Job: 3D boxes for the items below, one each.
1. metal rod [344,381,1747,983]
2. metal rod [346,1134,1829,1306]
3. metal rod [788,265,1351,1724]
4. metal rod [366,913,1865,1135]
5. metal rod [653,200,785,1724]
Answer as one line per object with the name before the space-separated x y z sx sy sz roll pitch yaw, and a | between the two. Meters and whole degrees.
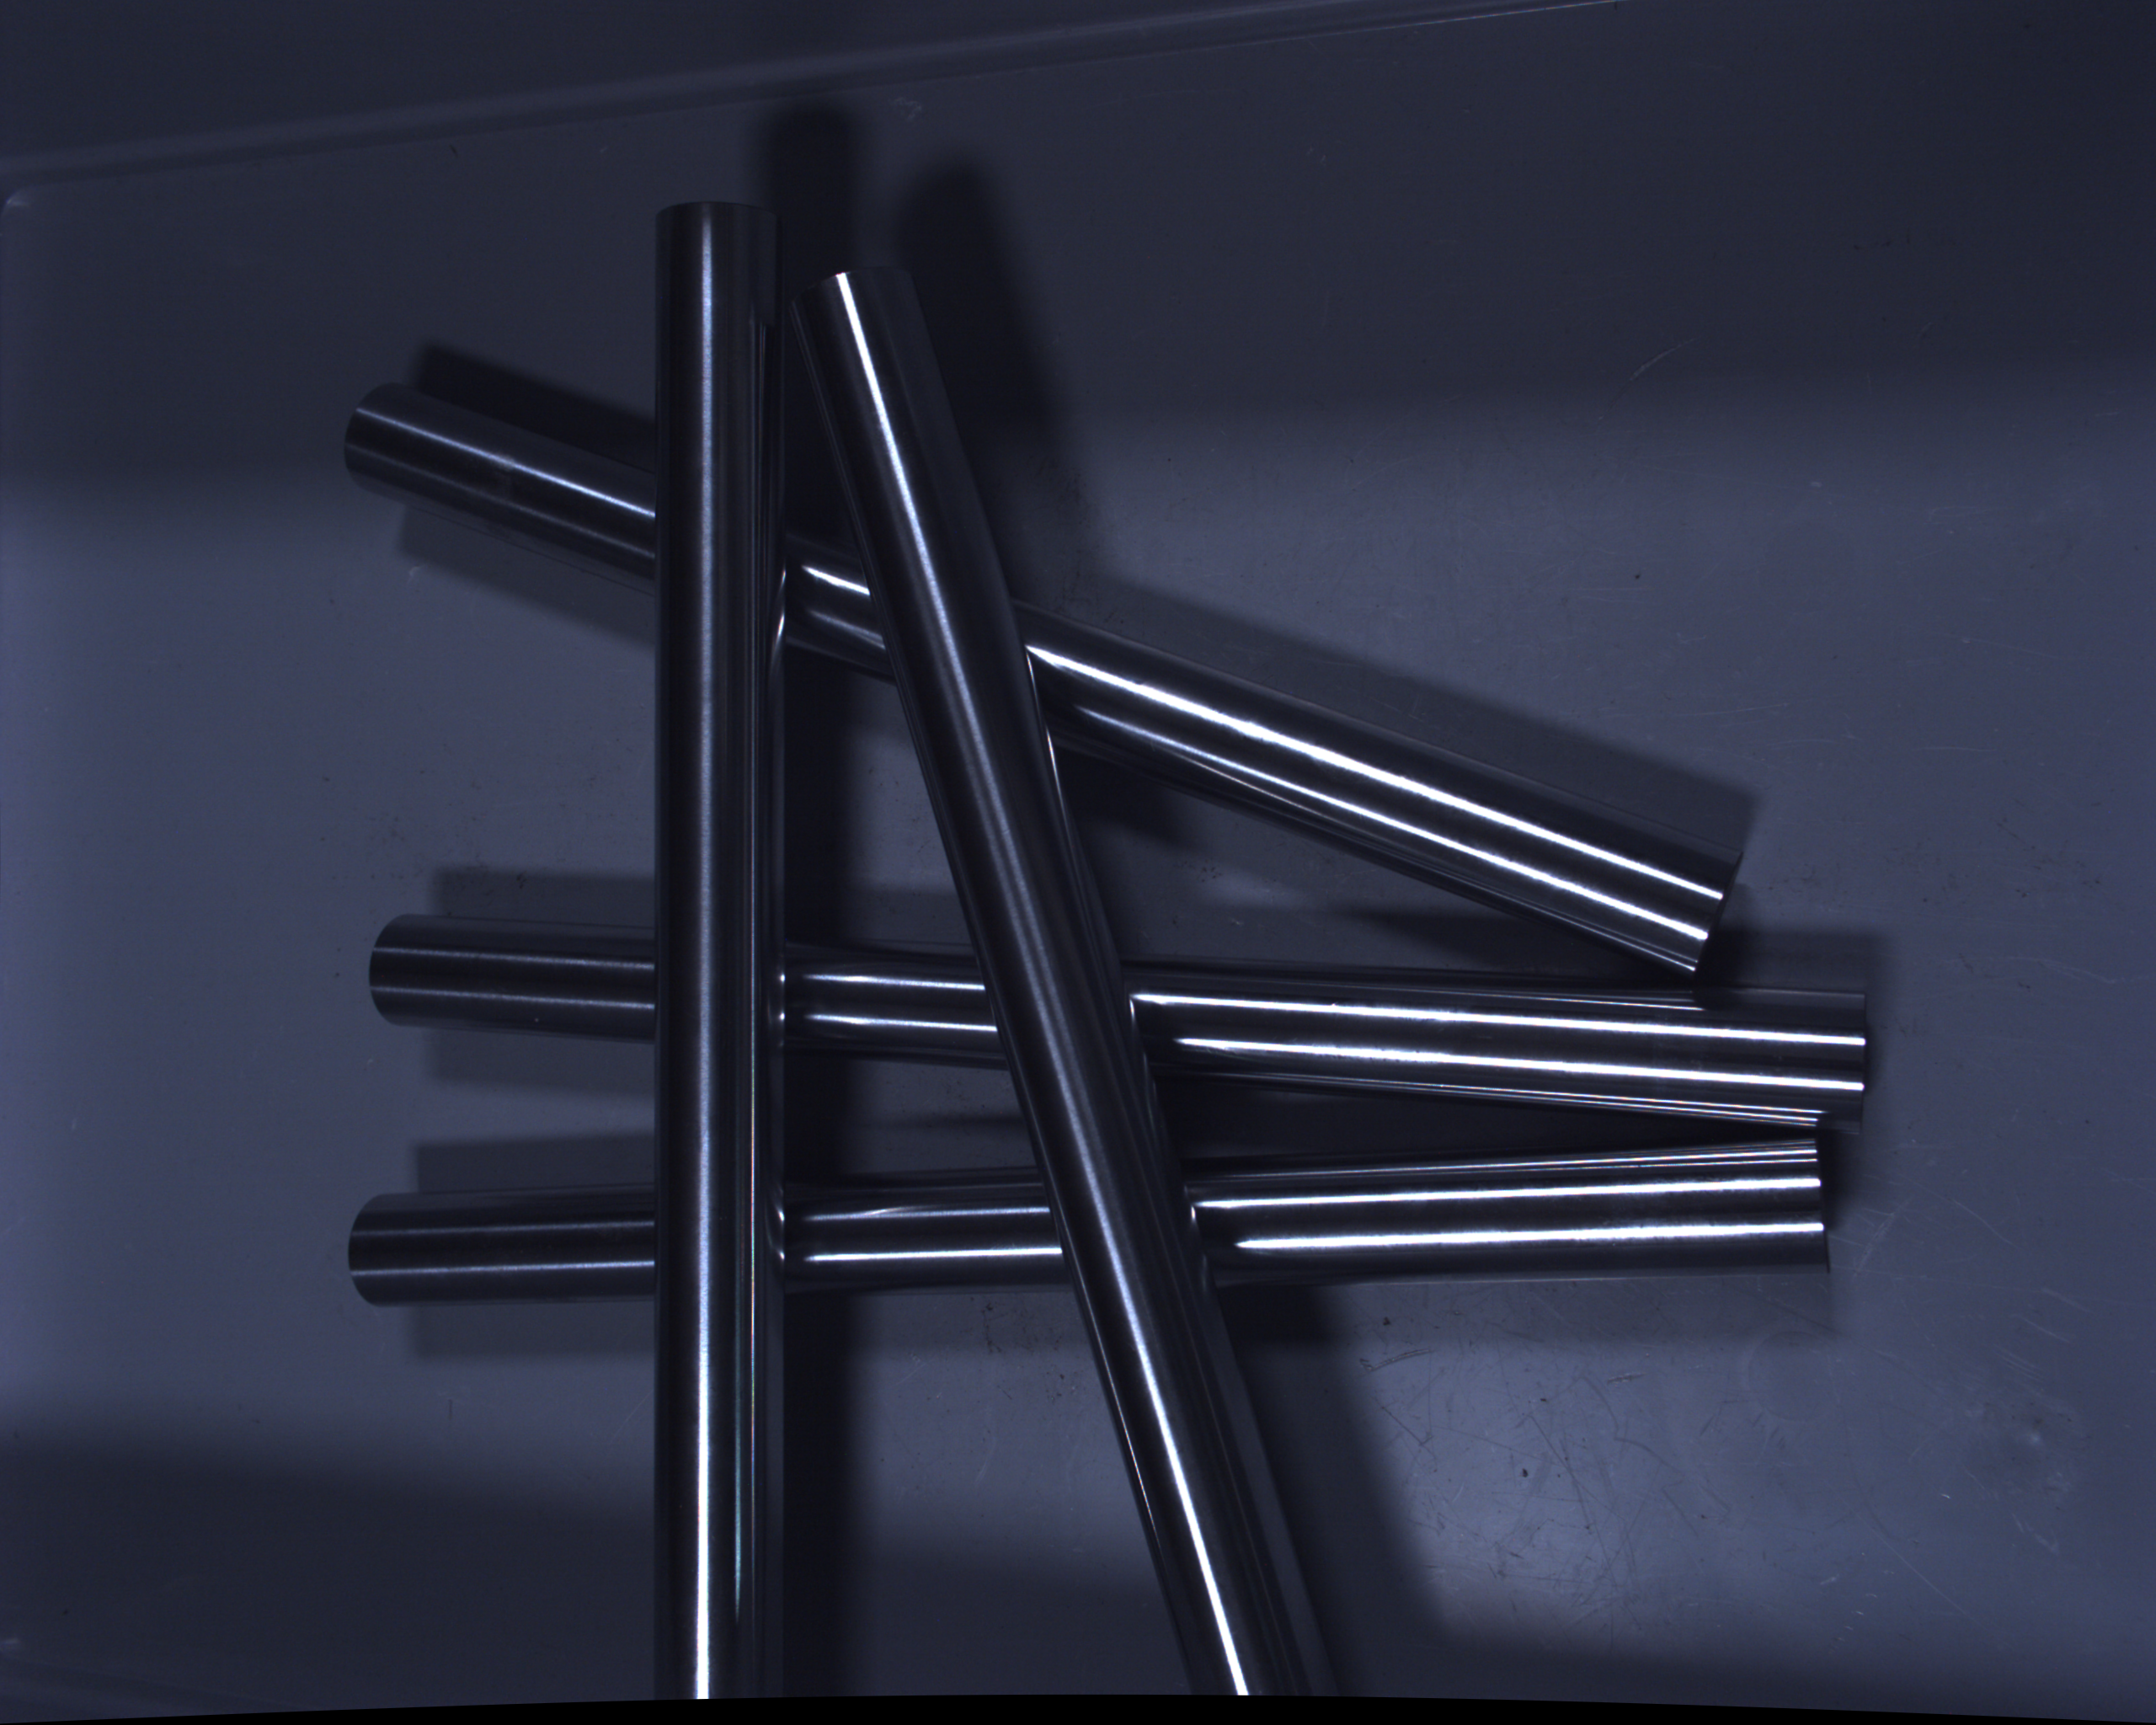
metal rod | -0.020 -0.042 0.414 0.301 0.025 0.025 21 97 18
metal rod | -0.012 0.073 0.412 0.301 0.025 0.025 -5 88 19
metal rod | 0.000 0.034 0.381 0.025 0.025 0.299 -19 84 19
metal rod | -0.007 0.029 0.410 0.301 0.025 0.025 2 91 19
metal rod | -0.070 0.024 0.405 0.025 0.025 0.298 0 90 19
